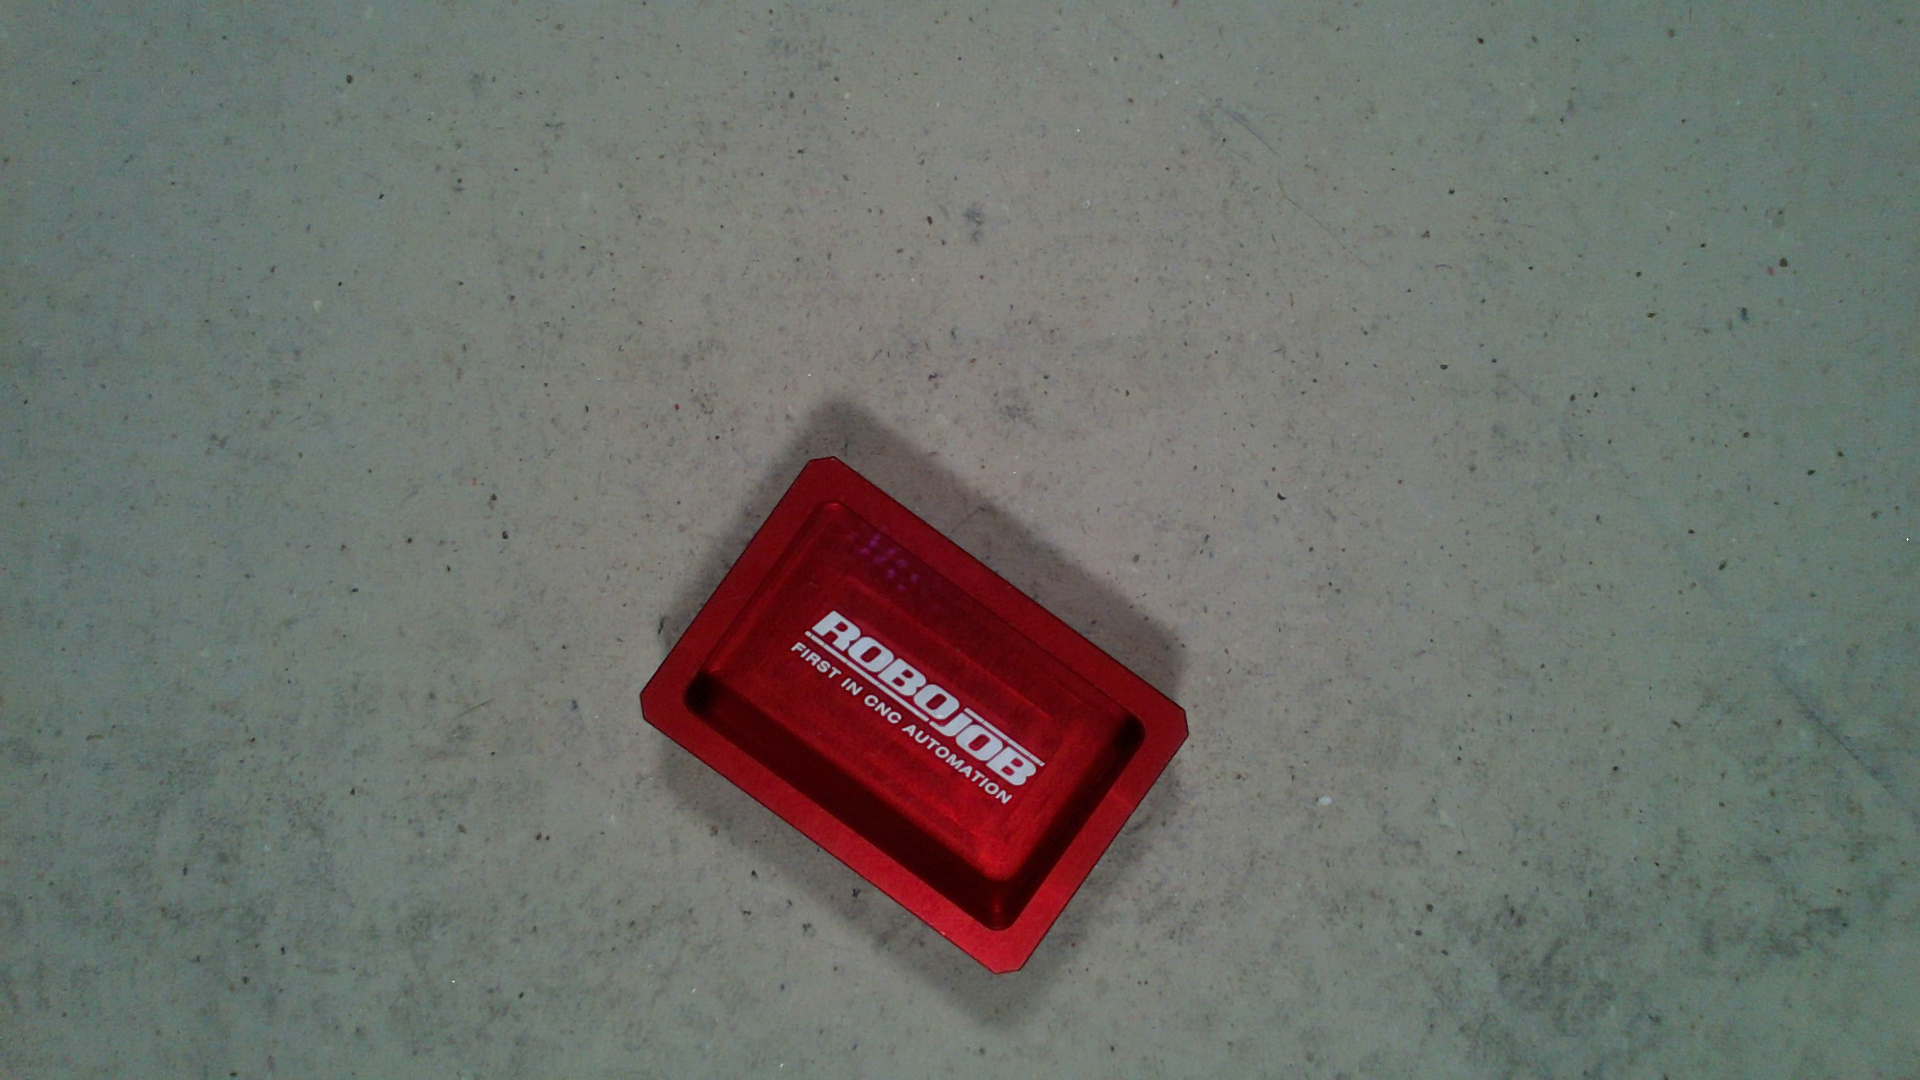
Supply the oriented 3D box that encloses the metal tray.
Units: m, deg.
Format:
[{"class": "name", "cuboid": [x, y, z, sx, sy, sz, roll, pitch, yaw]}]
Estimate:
[{"class": "metal tray", "cuboid": [-0.012, 0.048, 0.393, 0.130, 0.030, 0.090, 36, 90, 0]}]
